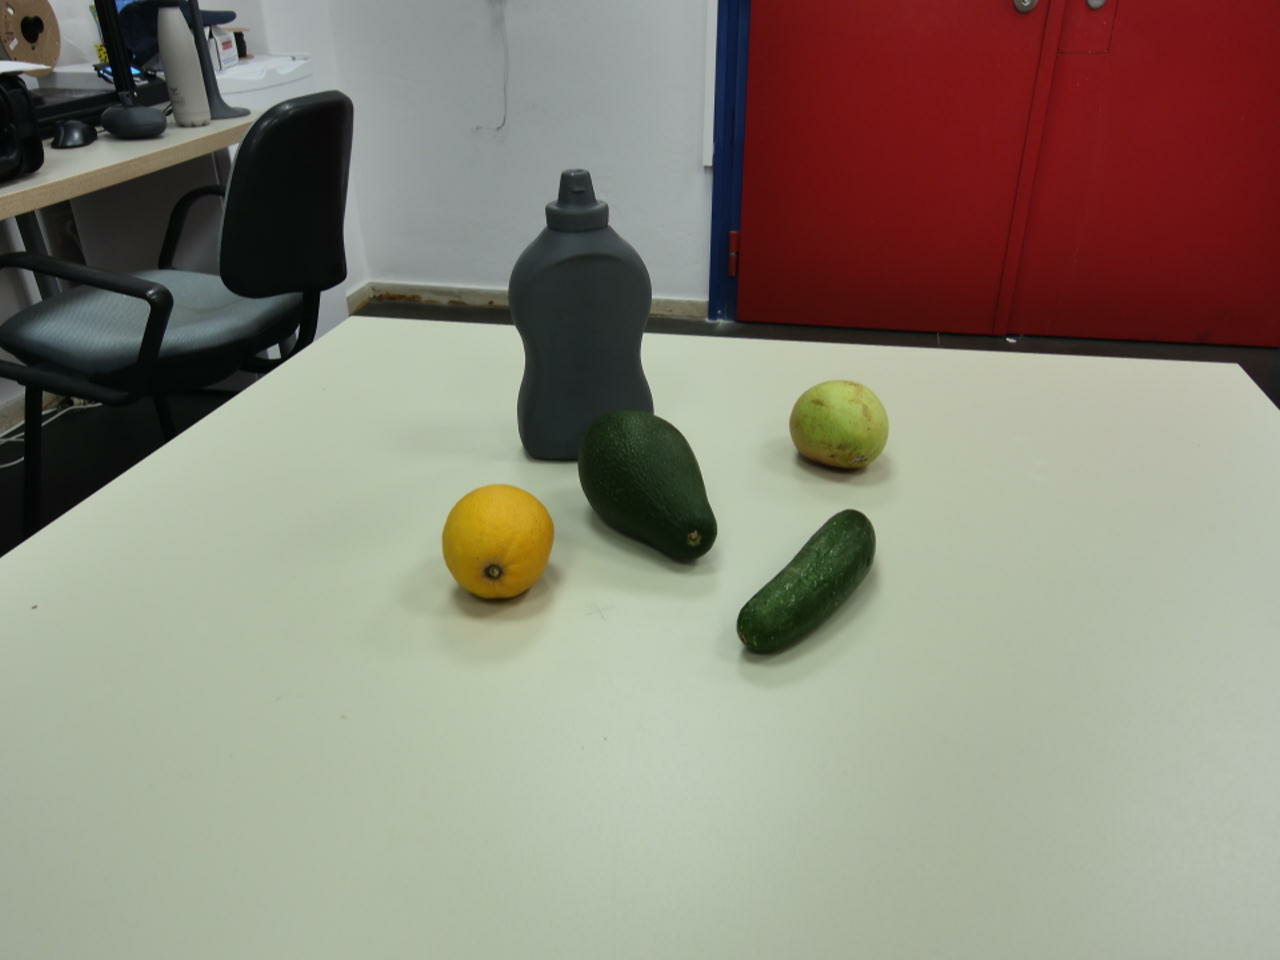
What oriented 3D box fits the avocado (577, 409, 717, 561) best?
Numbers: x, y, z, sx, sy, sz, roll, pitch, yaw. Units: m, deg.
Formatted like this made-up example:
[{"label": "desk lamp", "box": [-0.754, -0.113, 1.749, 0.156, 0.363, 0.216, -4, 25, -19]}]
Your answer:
[{"label": "avocado", "box": [0.002, 0.002, 0.591, 0.072, 0.071, 0.109, -7, 26, -10]}]
